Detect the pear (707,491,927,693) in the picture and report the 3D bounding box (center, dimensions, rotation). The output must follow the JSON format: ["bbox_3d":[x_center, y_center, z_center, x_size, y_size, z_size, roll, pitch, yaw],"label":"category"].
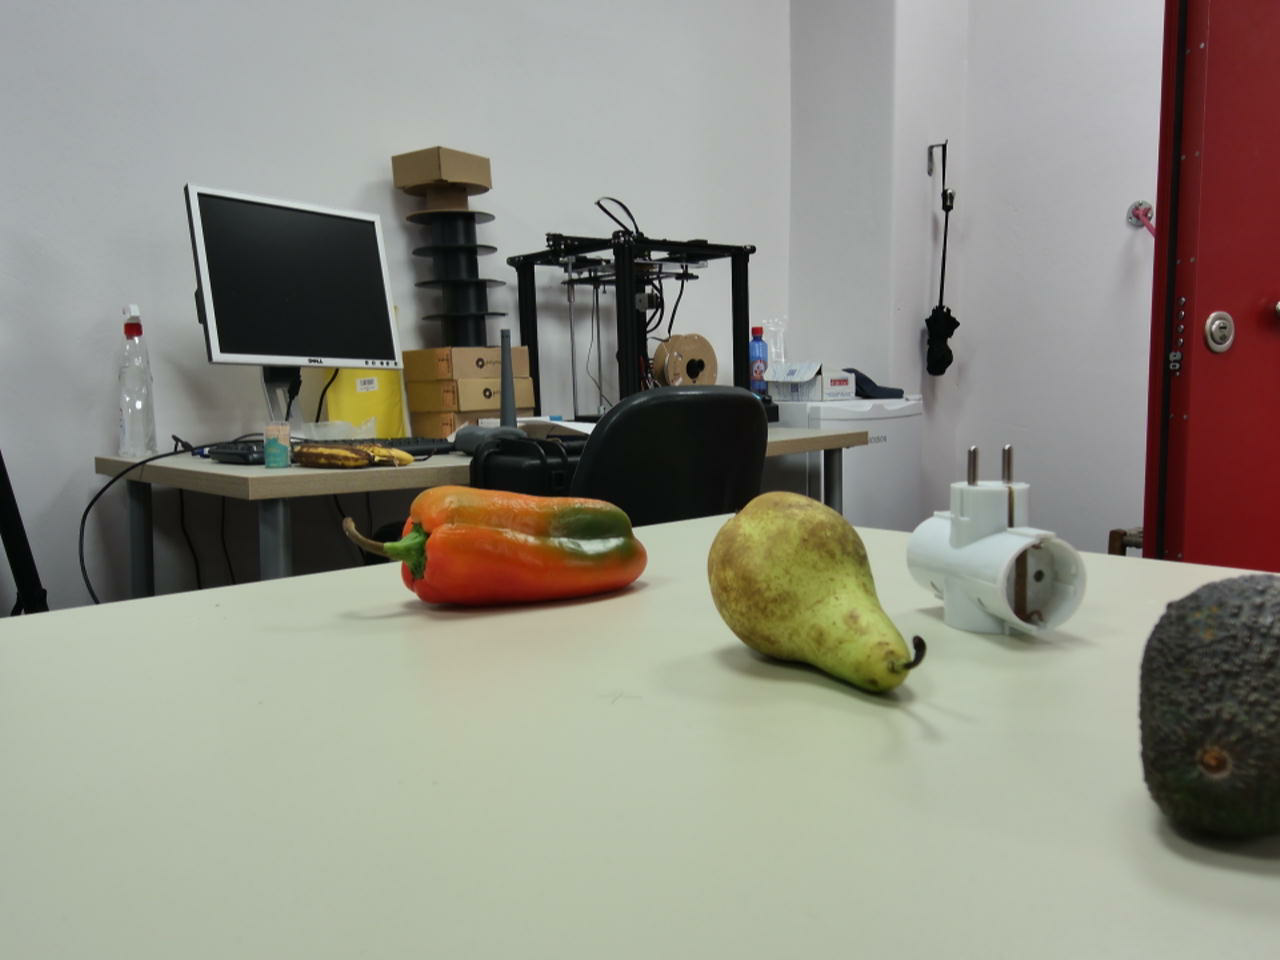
[{"bbox_3d":[0.088,0.046,0.431,0.071,0.075,0.144,-2,4,-33],"label":"pear"}]
